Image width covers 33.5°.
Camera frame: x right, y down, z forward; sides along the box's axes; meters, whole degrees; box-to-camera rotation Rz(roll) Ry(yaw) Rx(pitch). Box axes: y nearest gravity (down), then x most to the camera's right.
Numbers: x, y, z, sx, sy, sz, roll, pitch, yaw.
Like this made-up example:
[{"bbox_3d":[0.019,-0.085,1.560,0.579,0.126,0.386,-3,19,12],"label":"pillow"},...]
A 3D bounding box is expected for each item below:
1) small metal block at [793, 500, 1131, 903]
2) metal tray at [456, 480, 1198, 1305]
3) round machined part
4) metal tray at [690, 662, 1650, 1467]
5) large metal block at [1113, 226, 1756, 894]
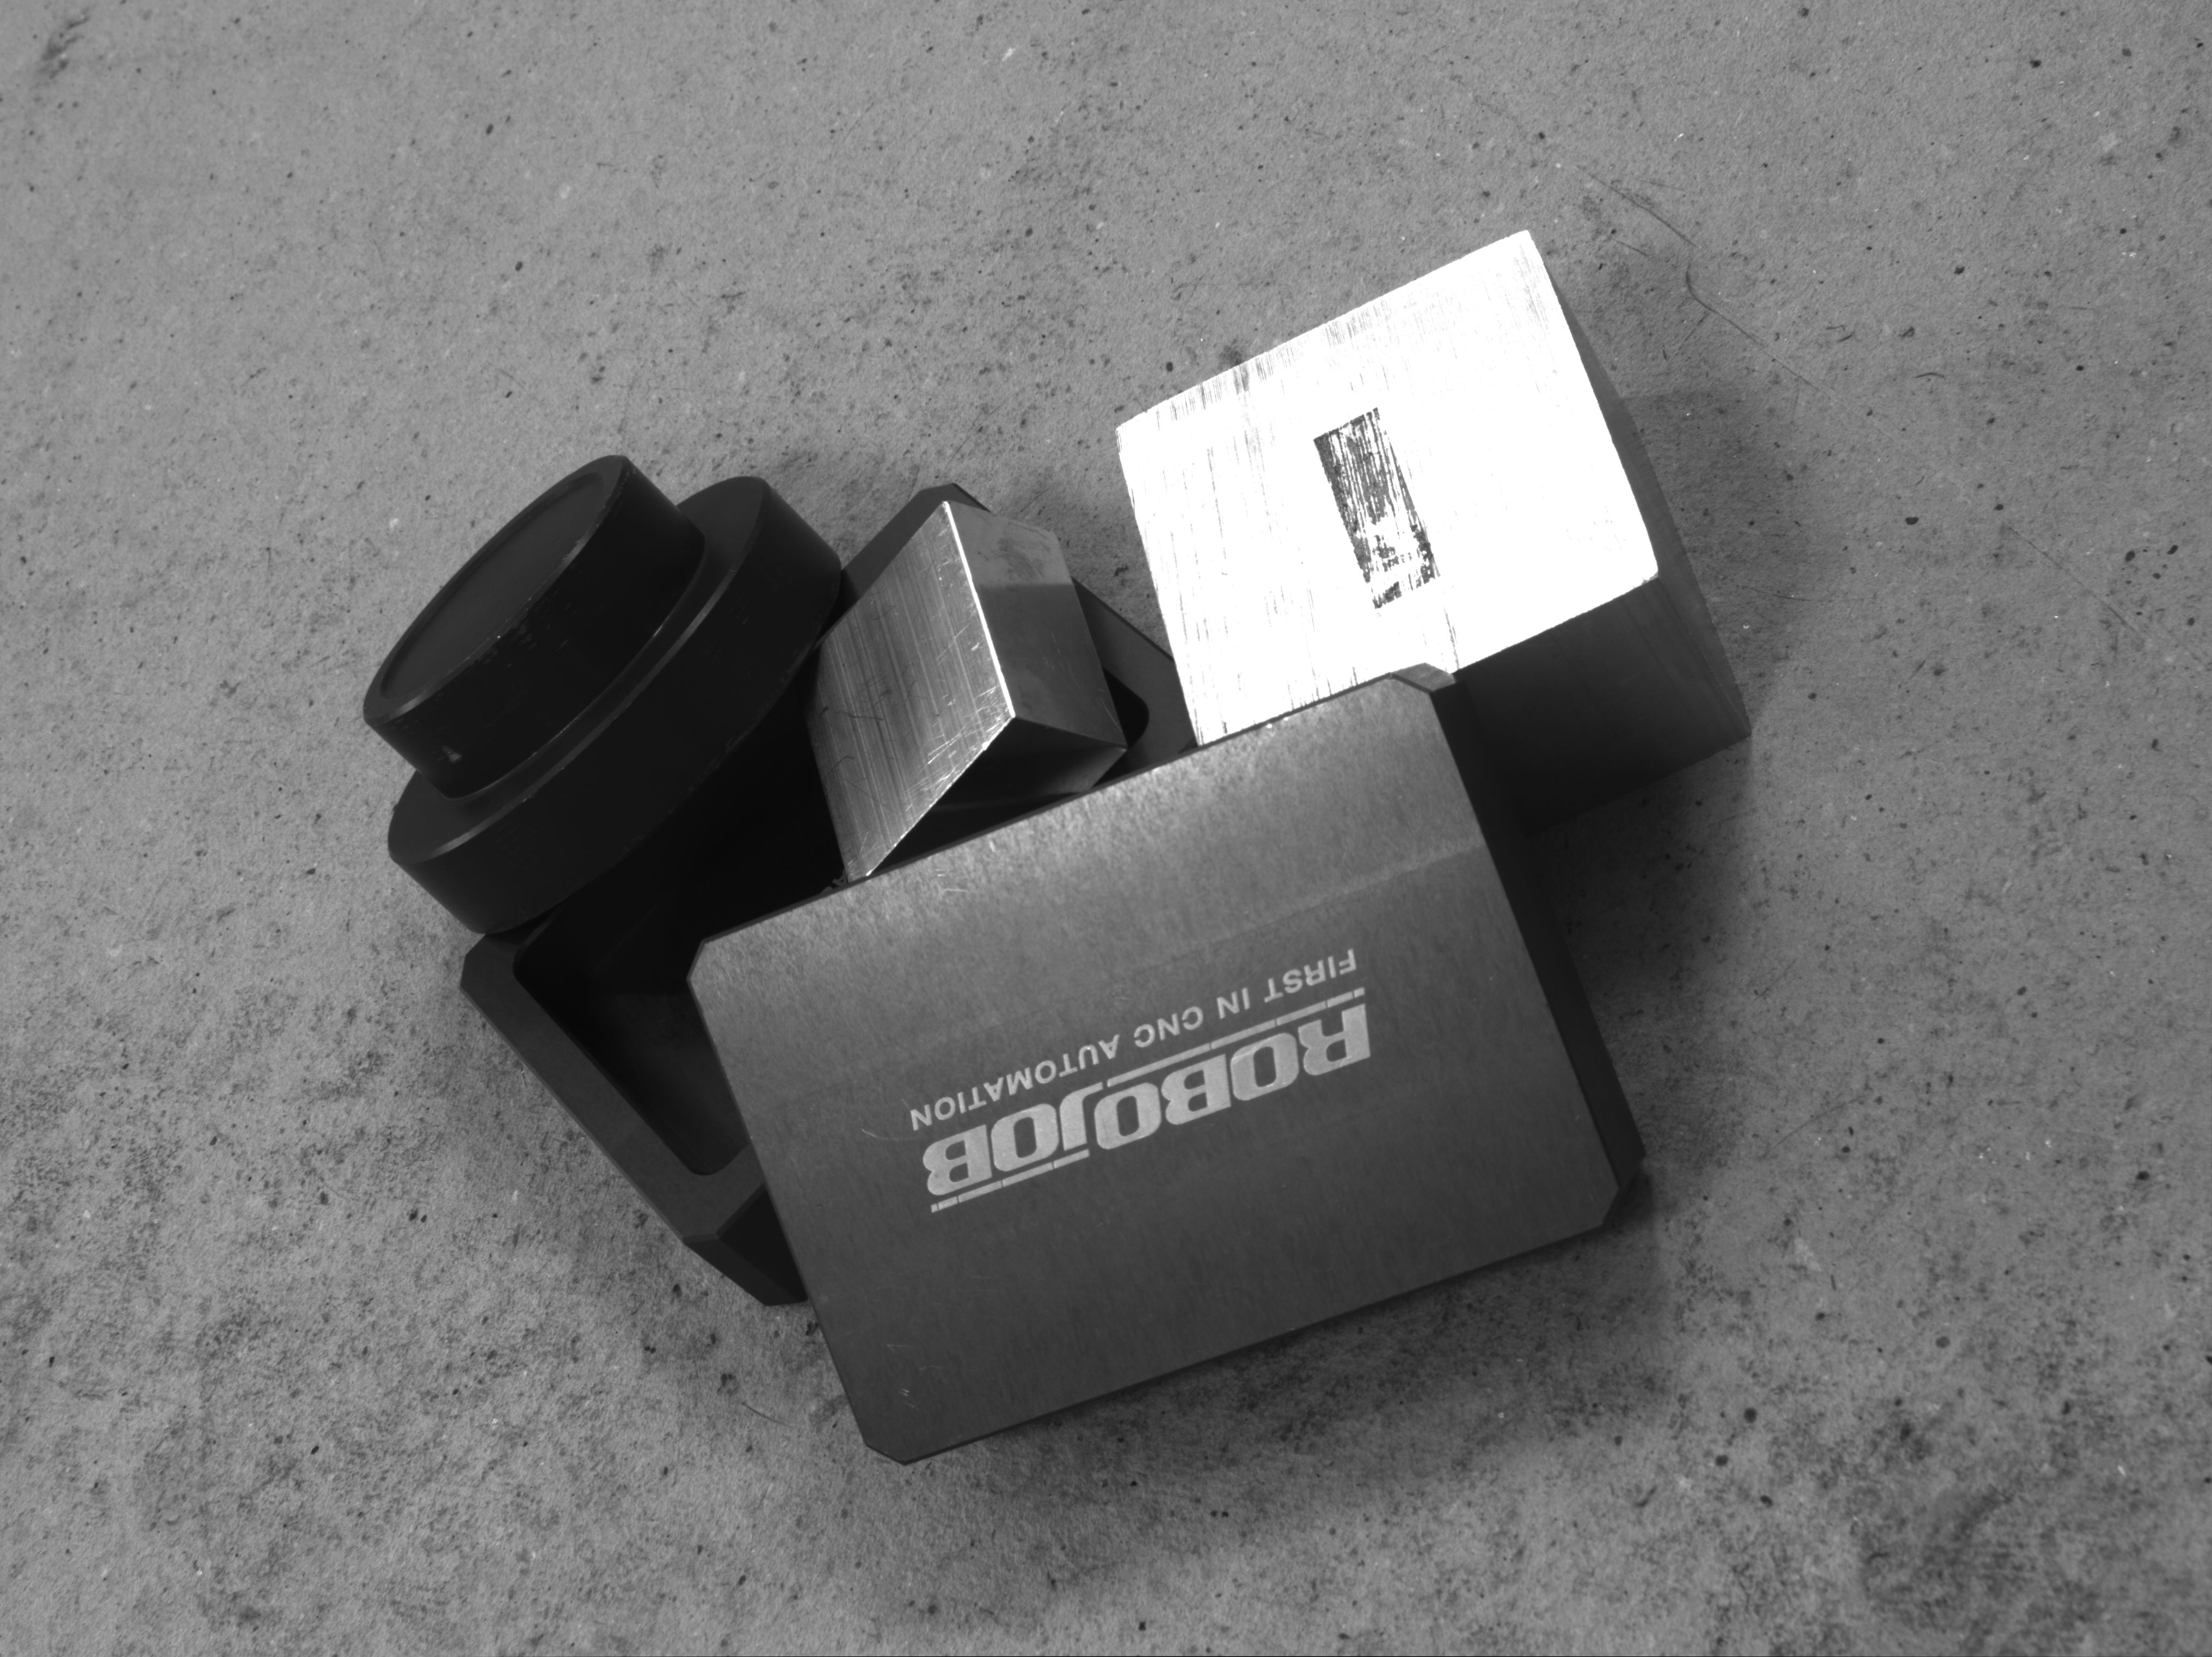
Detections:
[{"bbox_3d":[-0.026,-0.020,0.643,0.050,0.025,0.050,-46,46,33],"label":"small metal block"},{"bbox_3d":[-0.044,0.009,0.660,0.130,0.030,0.090,-46,51,-4],"label":"metal tray"},{"bbox_3d":[-0.099,-0.031,0.680,0.098,0.042,0.098,-37,21,18],"label":"round machined part"},{"bbox_3d":[0.010,0.038,0.584,0.130,0.030,0.090,-21,90,16],"label":"metal tray"},{"bbox_3d":[0.055,-0.043,0.627,0.080,0.050,0.080,-24,53,14],"label":"large metal block"}]
